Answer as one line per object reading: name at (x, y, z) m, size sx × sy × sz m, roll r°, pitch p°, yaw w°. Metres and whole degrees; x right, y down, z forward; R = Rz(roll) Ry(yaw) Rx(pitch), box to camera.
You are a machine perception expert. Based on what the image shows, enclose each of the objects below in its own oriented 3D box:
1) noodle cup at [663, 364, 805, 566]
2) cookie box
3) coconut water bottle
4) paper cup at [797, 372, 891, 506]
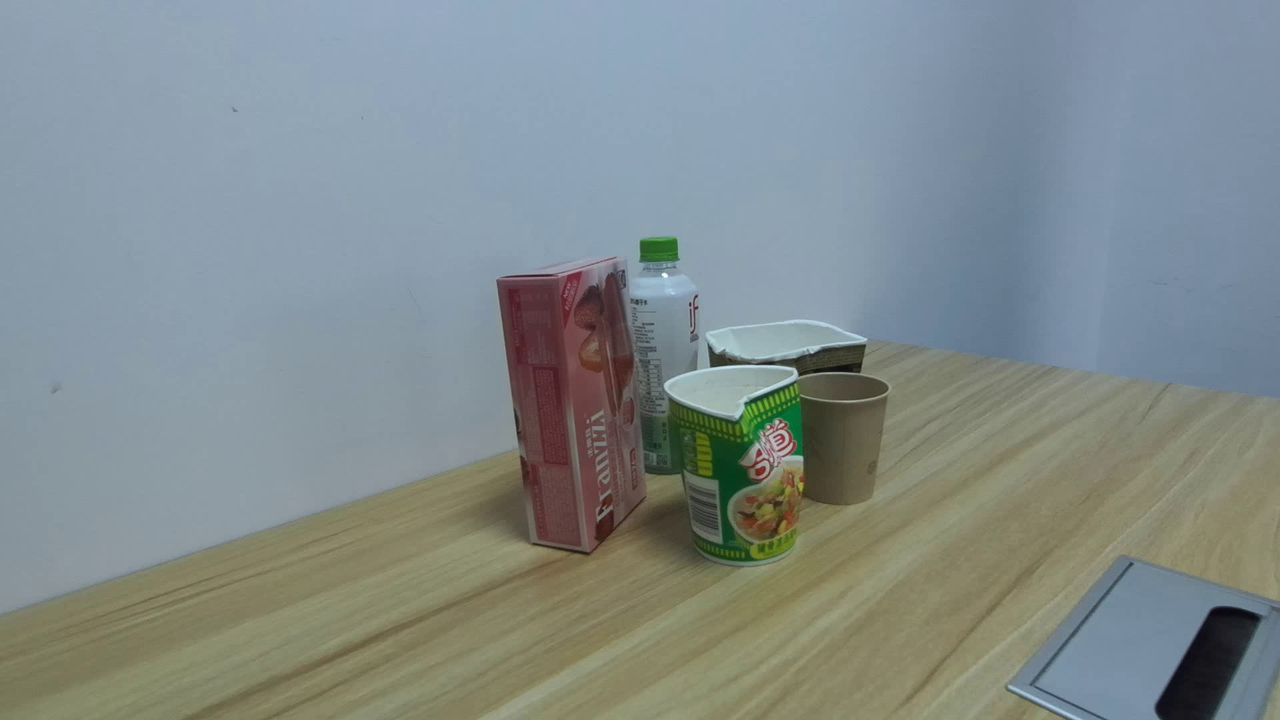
noodle cup at (0.065, 0.066, 0.457) m, size 0.094 × 0.109 × 0.086 m, roll -14°, pitch 18°, yaw -32°
cookie box at (-0.041, 0.028, 0.490) m, size 0.048 × 0.184 × 0.096 m, roll 1°, pitch 15°, yaw 24°
coconut water bottle at (0.020, -0.005, 0.584) m, size 0.063 × 0.188 × 0.063 m, roll -3°, pitch 15°, yaw 1°
paper cup at (0.145, 0.059, 0.524) m, size 0.075 × 0.082 × 0.075 m, roll -3°, pitch 13°, yaw 1°
